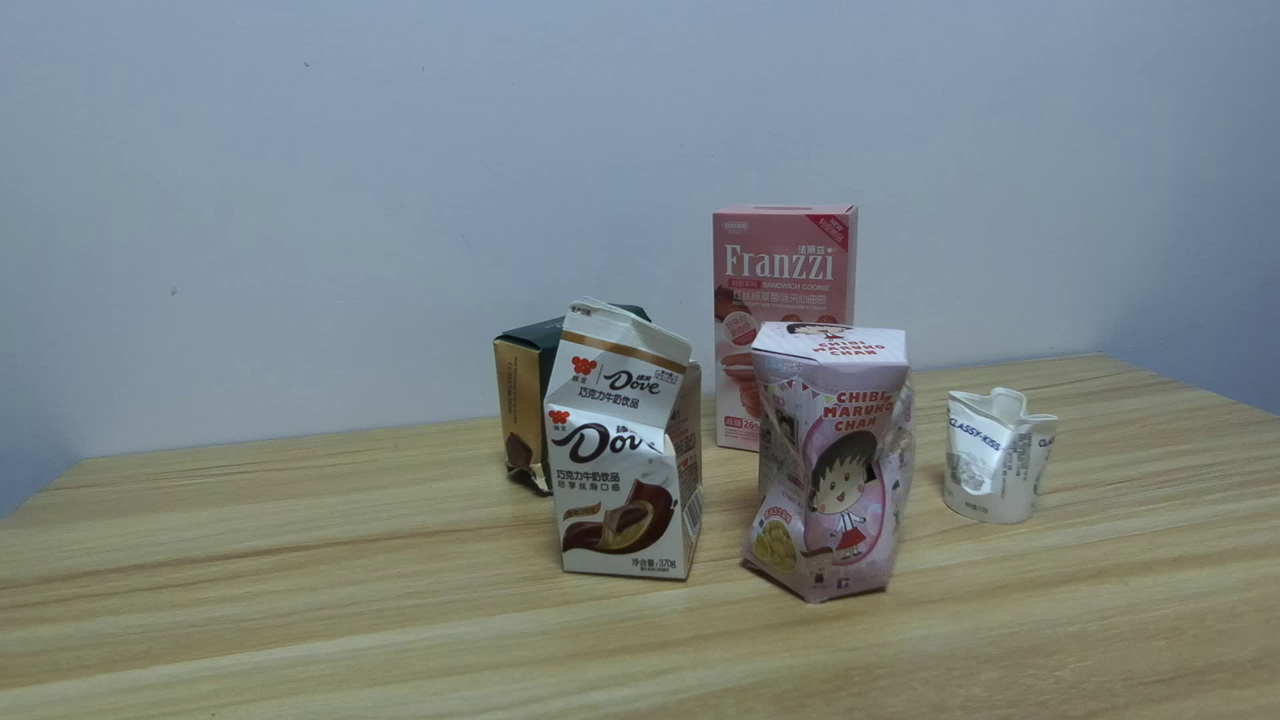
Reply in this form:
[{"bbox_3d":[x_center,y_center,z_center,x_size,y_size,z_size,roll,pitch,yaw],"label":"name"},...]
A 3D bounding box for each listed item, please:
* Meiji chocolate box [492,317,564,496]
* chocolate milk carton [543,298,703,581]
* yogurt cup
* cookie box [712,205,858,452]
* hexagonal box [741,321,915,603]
[{"bbox_3d":[-0.048,0.026,0.543,0.123,0.116,0.058,-17,23,-41],"label":"Meiji chocolate box"},{"bbox_3d":[-0.006,0.039,0.401,0.076,0.155,0.073,2,21,12],"label":"chocolate milk carton"},{"bbox_3d":[0.226,0.060,0.447,0.055,0.072,0.055,-1,19,-4],"label":"yogurt cup"},{"bbox_3d":[0.108,-0.021,0.525,0.096,0.185,0.048,5,23,22],"label":"cookie box"},{"bbox_3d":[0.097,0.052,0.383,0.093,0.134,0.089,15,25,42],"label":"hexagonal box"}]
